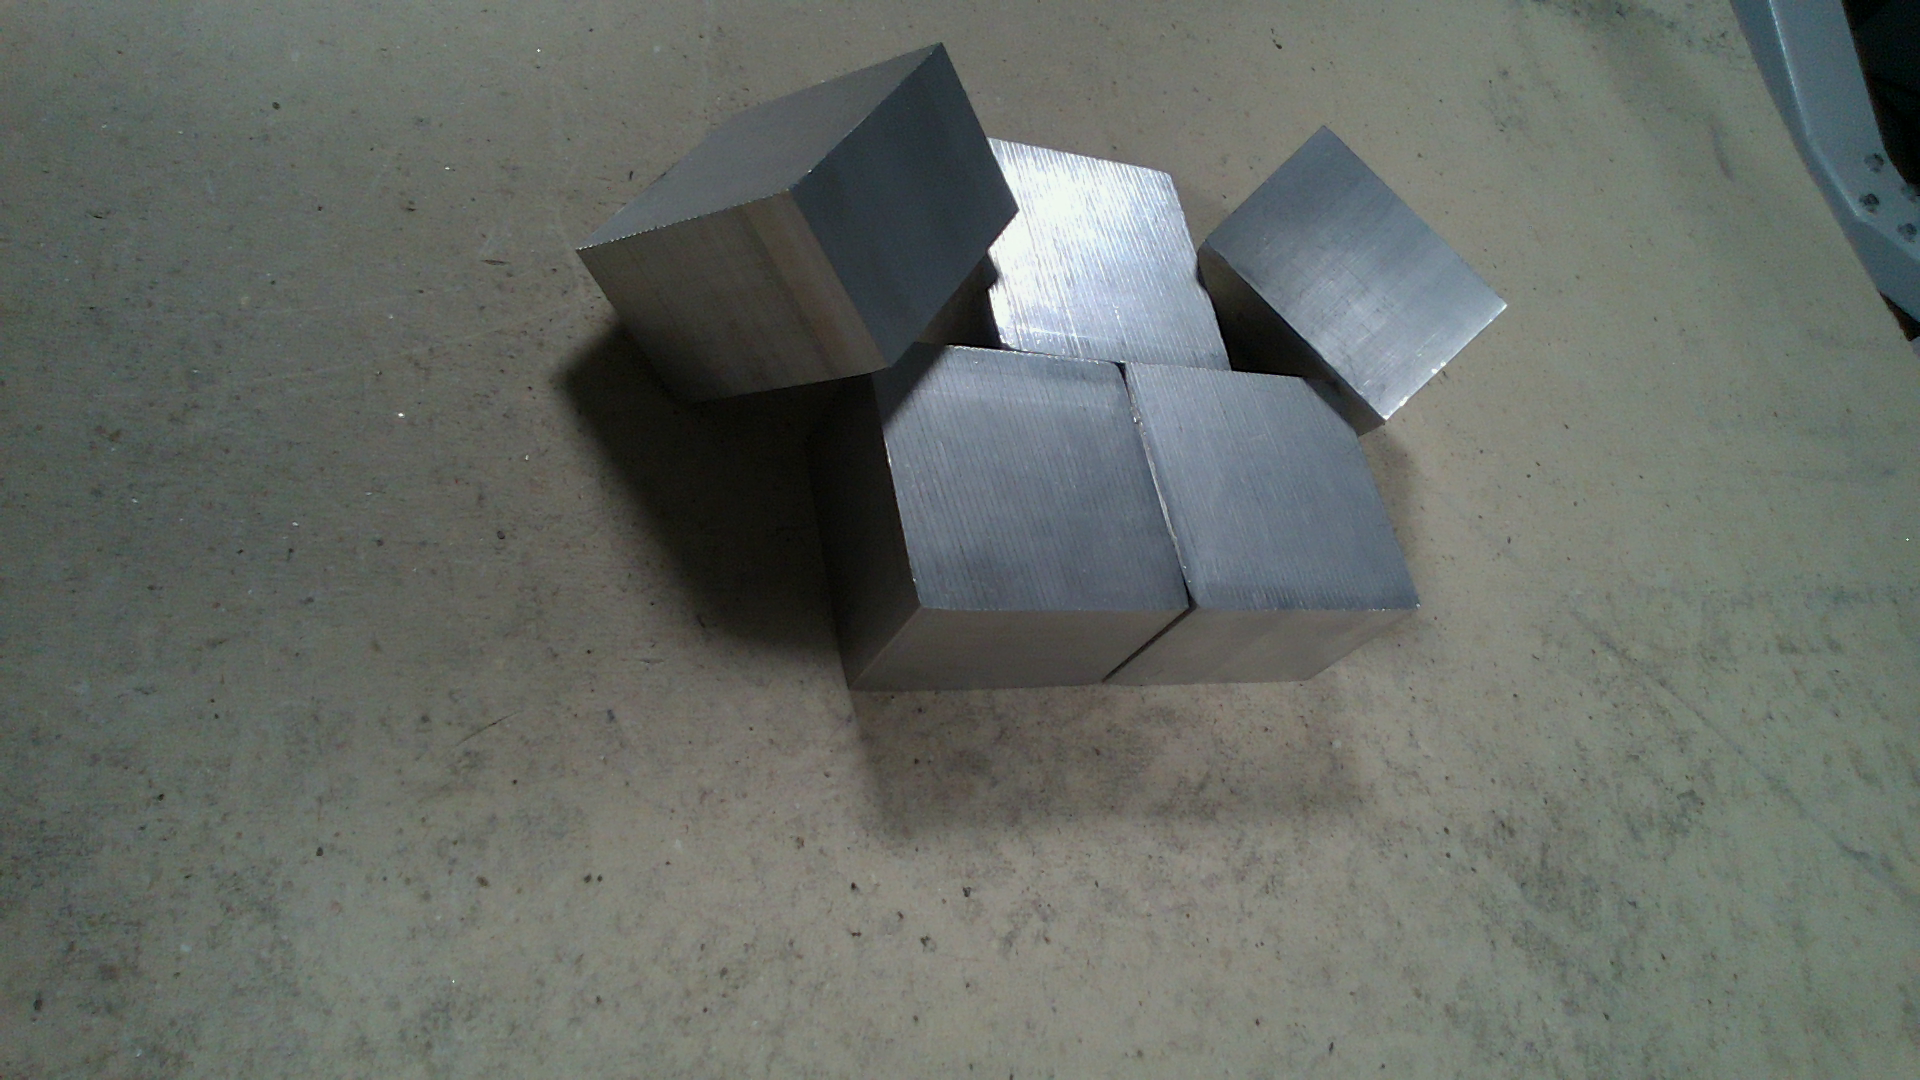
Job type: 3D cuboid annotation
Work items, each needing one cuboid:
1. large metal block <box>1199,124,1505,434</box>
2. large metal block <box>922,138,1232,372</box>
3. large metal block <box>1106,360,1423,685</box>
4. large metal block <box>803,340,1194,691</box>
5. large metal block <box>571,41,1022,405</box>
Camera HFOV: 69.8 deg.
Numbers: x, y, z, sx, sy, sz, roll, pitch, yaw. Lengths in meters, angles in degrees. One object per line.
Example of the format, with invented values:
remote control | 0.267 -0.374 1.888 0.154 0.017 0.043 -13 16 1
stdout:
large metal block | 0.123 -0.081 0.463 0.050 0.080 0.080 -44 86 2
large metal block | 0.030 -0.076 0.436 0.080 0.050 0.080 3 60 -27
large metal block | 0.080 -0.004 0.417 0.080 0.050 0.080 1 61 -27
large metal block | 0.008 -0.006 0.381 0.080 0.050 0.080 1 61 -27
large metal block | -0.042 -0.085 0.375 0.080 0.080 0.050 -56 129 -39
